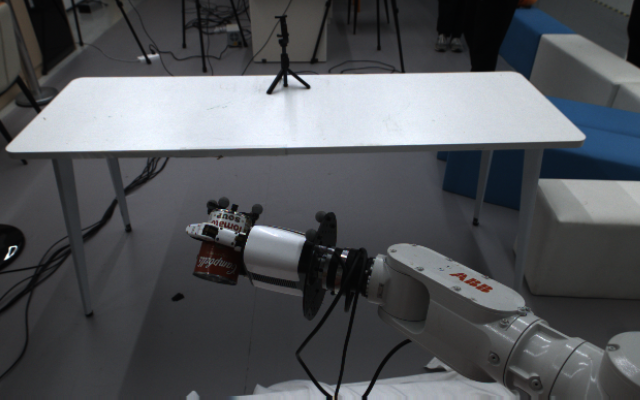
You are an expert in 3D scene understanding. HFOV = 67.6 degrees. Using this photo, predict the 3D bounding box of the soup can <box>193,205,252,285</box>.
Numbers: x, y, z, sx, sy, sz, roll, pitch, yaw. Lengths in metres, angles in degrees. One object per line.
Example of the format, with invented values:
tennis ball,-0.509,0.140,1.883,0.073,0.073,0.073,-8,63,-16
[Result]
soup can,-0.147,0.073,0.735,0.067,0.067,0.101,8,71,9
